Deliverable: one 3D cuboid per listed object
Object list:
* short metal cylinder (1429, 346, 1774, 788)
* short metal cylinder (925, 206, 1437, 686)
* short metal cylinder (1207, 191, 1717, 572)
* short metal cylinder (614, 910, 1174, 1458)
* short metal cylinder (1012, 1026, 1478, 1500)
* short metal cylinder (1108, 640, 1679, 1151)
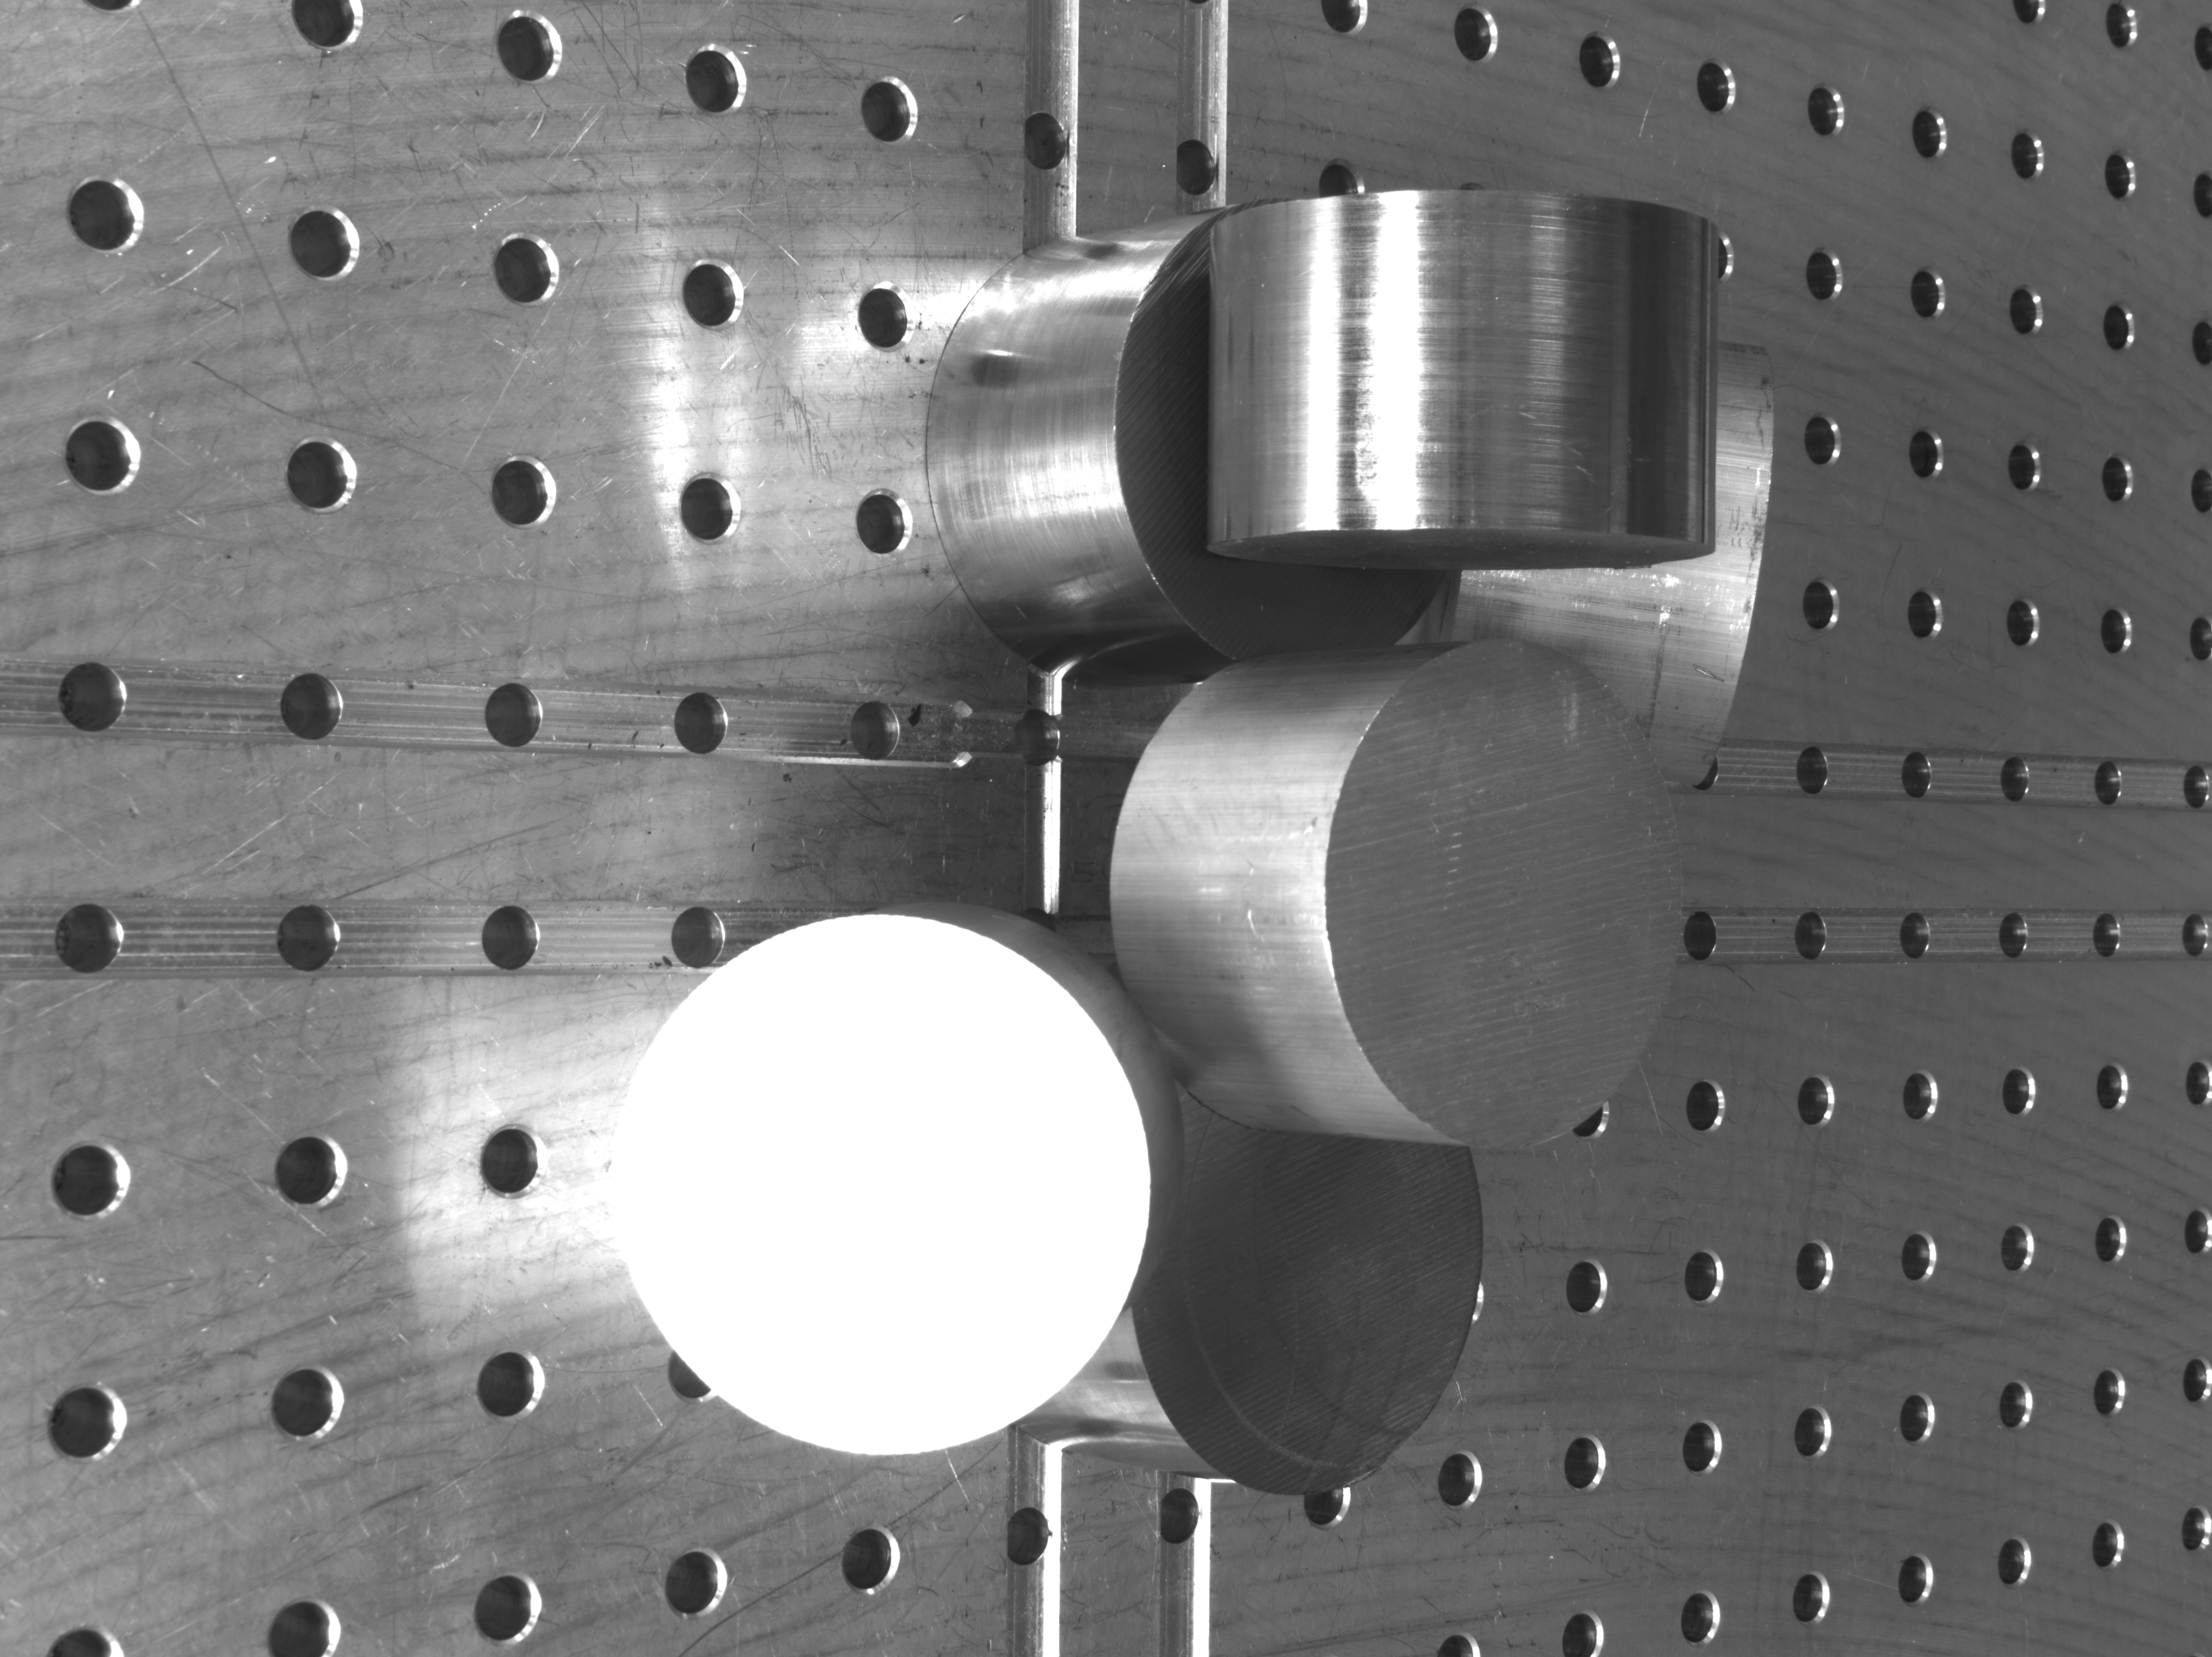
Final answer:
[{"bbox_3d":[0.088,-0.050,0.668,0.050,0.080,0.080,8,83,1],"label":"short metal cylinder"},{"bbox_3d":[0.016,-0.065,0.636,0.080,0.050,0.080,0,91,-40],"label":"short metal cylinder"},{"bbox_3d":[0.056,-0.069,0.584,0.080,0.080,0.050,1,89,-40],"label":"short metal cylinder"},{"bbox_3d":[-0.031,0.053,0.571,0.050,0.080,0.080,-12,101,-83],"label":"short metal cylinder"},{"bbox_3d":[0.018,0.072,0.638,0.080,0.050,0.080,-1,91,-40],"label":"short metal cylinder"},{"bbox_3d":[0.047,0.011,0.597,0.080,0.050,0.080,0,90,-40],"label":"short metal cylinder"}]
